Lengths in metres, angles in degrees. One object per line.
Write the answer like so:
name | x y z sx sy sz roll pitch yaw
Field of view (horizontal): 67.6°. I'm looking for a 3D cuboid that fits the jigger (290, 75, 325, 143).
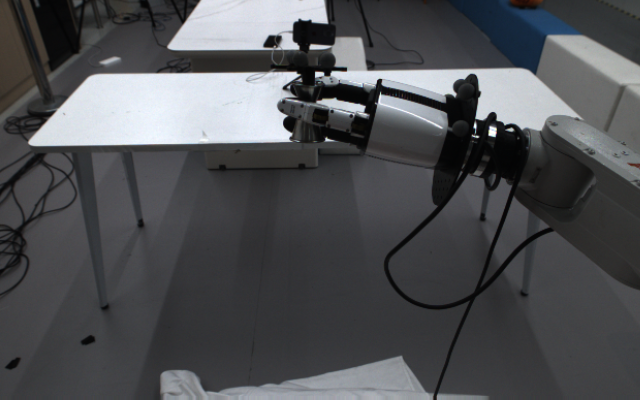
jigger | -0.015 -0.107 0.587 0.043 0.071 0.043 1 20 -1
